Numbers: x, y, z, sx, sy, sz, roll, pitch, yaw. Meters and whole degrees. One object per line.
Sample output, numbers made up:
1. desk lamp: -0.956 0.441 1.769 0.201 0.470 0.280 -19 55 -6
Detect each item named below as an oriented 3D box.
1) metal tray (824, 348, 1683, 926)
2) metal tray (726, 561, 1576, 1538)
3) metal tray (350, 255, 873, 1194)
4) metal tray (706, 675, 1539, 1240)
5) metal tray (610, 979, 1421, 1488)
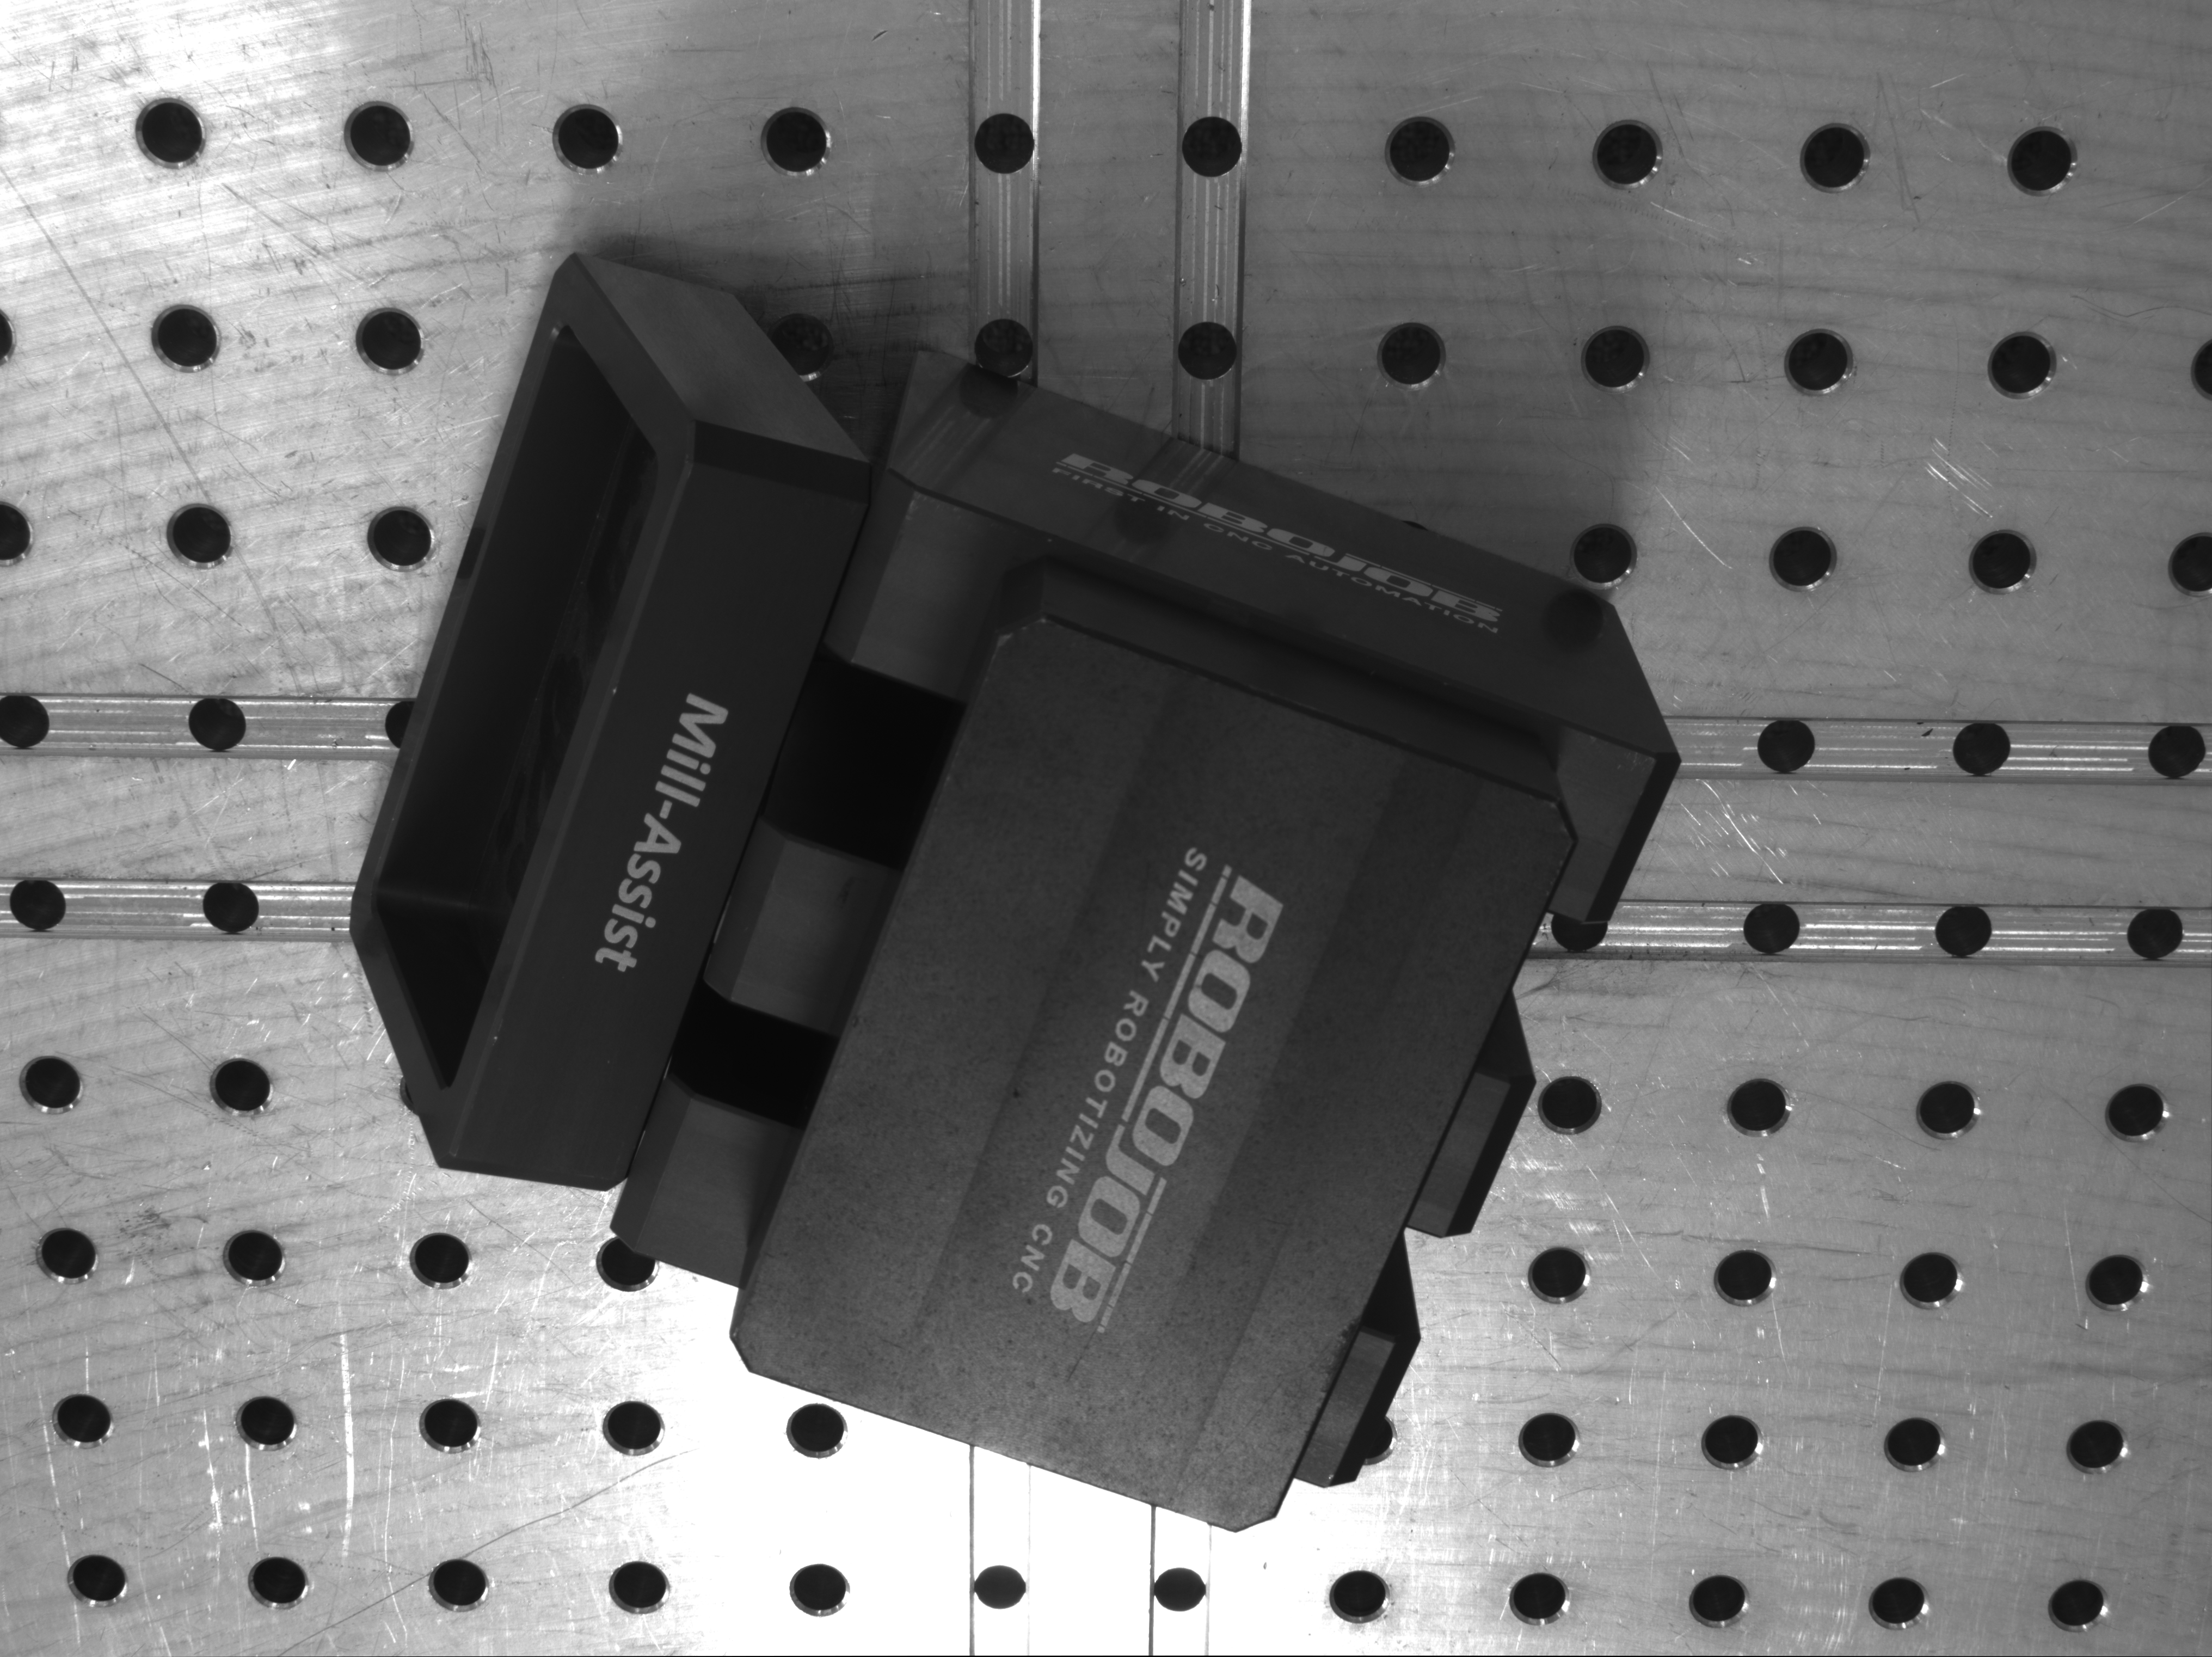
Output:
1. metal tray: 0.023 -0.033 0.599 0.130 0.090 0.030 20 109 -7
2. metal tray: 0.005 0.035 0.560 0.090 0.030 0.130 20 109 -7
3. metal tray: -0.084 -0.018 0.603 0.030 0.090 0.130 12 111 -27
4. metal tray: 0.002 0.019 0.618 0.130 0.090 0.030 18 108 -8
5. metal tray: -0.014 0.060 0.634 0.130 0.090 0.030 20 109 -7
